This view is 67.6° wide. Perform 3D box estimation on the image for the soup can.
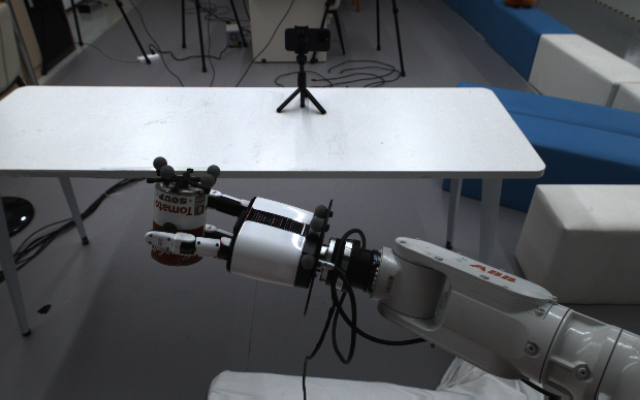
[{"bbox_3d":[-0.182,0.027,0.632,0.067,0.101,0.067,9,20,-3],"label":"soup can"}]
